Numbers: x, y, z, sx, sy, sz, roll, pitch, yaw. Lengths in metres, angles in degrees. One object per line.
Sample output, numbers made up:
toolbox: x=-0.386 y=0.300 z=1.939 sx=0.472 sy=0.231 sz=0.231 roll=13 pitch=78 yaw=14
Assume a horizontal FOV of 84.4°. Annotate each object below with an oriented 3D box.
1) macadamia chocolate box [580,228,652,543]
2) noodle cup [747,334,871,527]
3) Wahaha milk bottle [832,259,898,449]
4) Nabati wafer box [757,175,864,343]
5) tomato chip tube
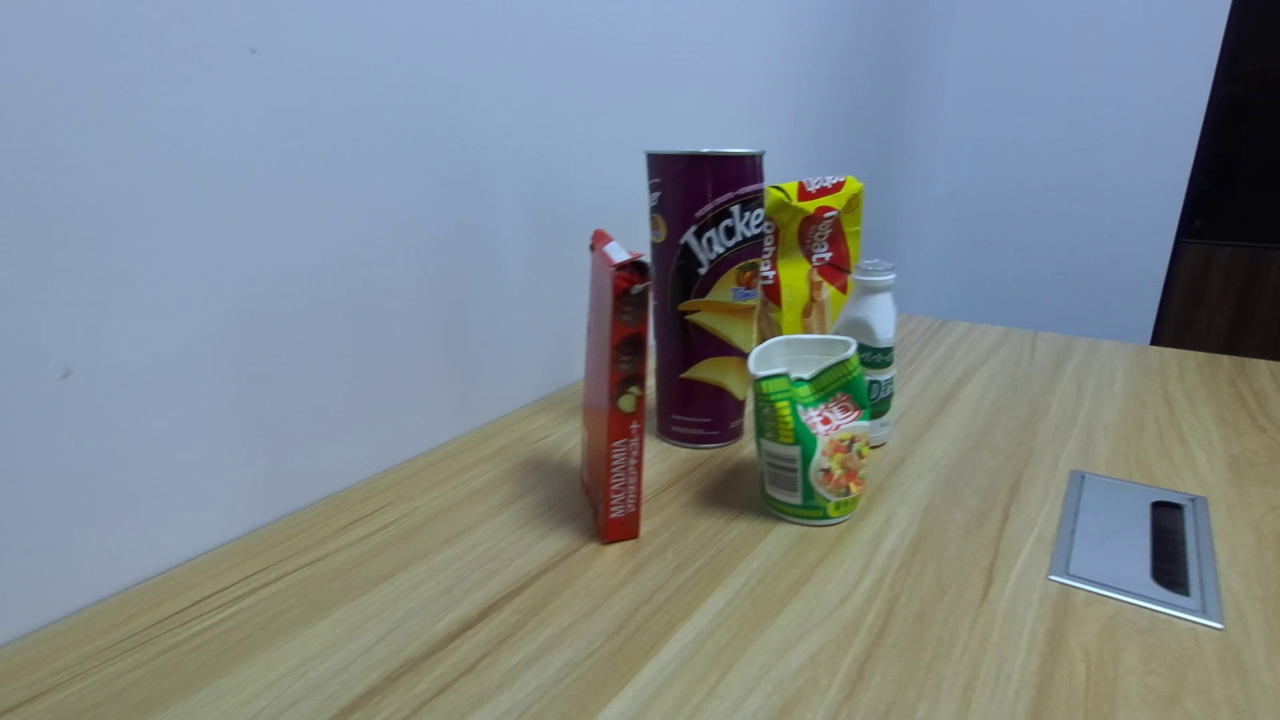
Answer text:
macadamia chocolate box: x=-0.019 y=0.013 z=0.467 sx=0.027 sy=0.187 sz=0.102 roll=-2 pitch=19 yaw=-14
noodle cup: x=0.118 y=0.045 z=0.483 sx=0.083 sy=0.122 sz=0.075 roll=-11 pitch=14 yaw=-1
Wahaha milk bottle: x=0.183 y=-0.004 z=0.574 sx=0.055 sy=0.149 sz=0.055 roll=-1 pitch=21 yaw=1
Nabati wafer box: x=0.160 y=-0.070 z=0.681 sx=0.107 sy=0.204 sz=0.042 roll=-12 pitch=23 yaw=-31
tomato chip tube: x=0.053 y=-0.049 z=0.580 sx=0.076 sy=0.235 sz=0.077 roll=-8 pitch=19 yaw=-21
